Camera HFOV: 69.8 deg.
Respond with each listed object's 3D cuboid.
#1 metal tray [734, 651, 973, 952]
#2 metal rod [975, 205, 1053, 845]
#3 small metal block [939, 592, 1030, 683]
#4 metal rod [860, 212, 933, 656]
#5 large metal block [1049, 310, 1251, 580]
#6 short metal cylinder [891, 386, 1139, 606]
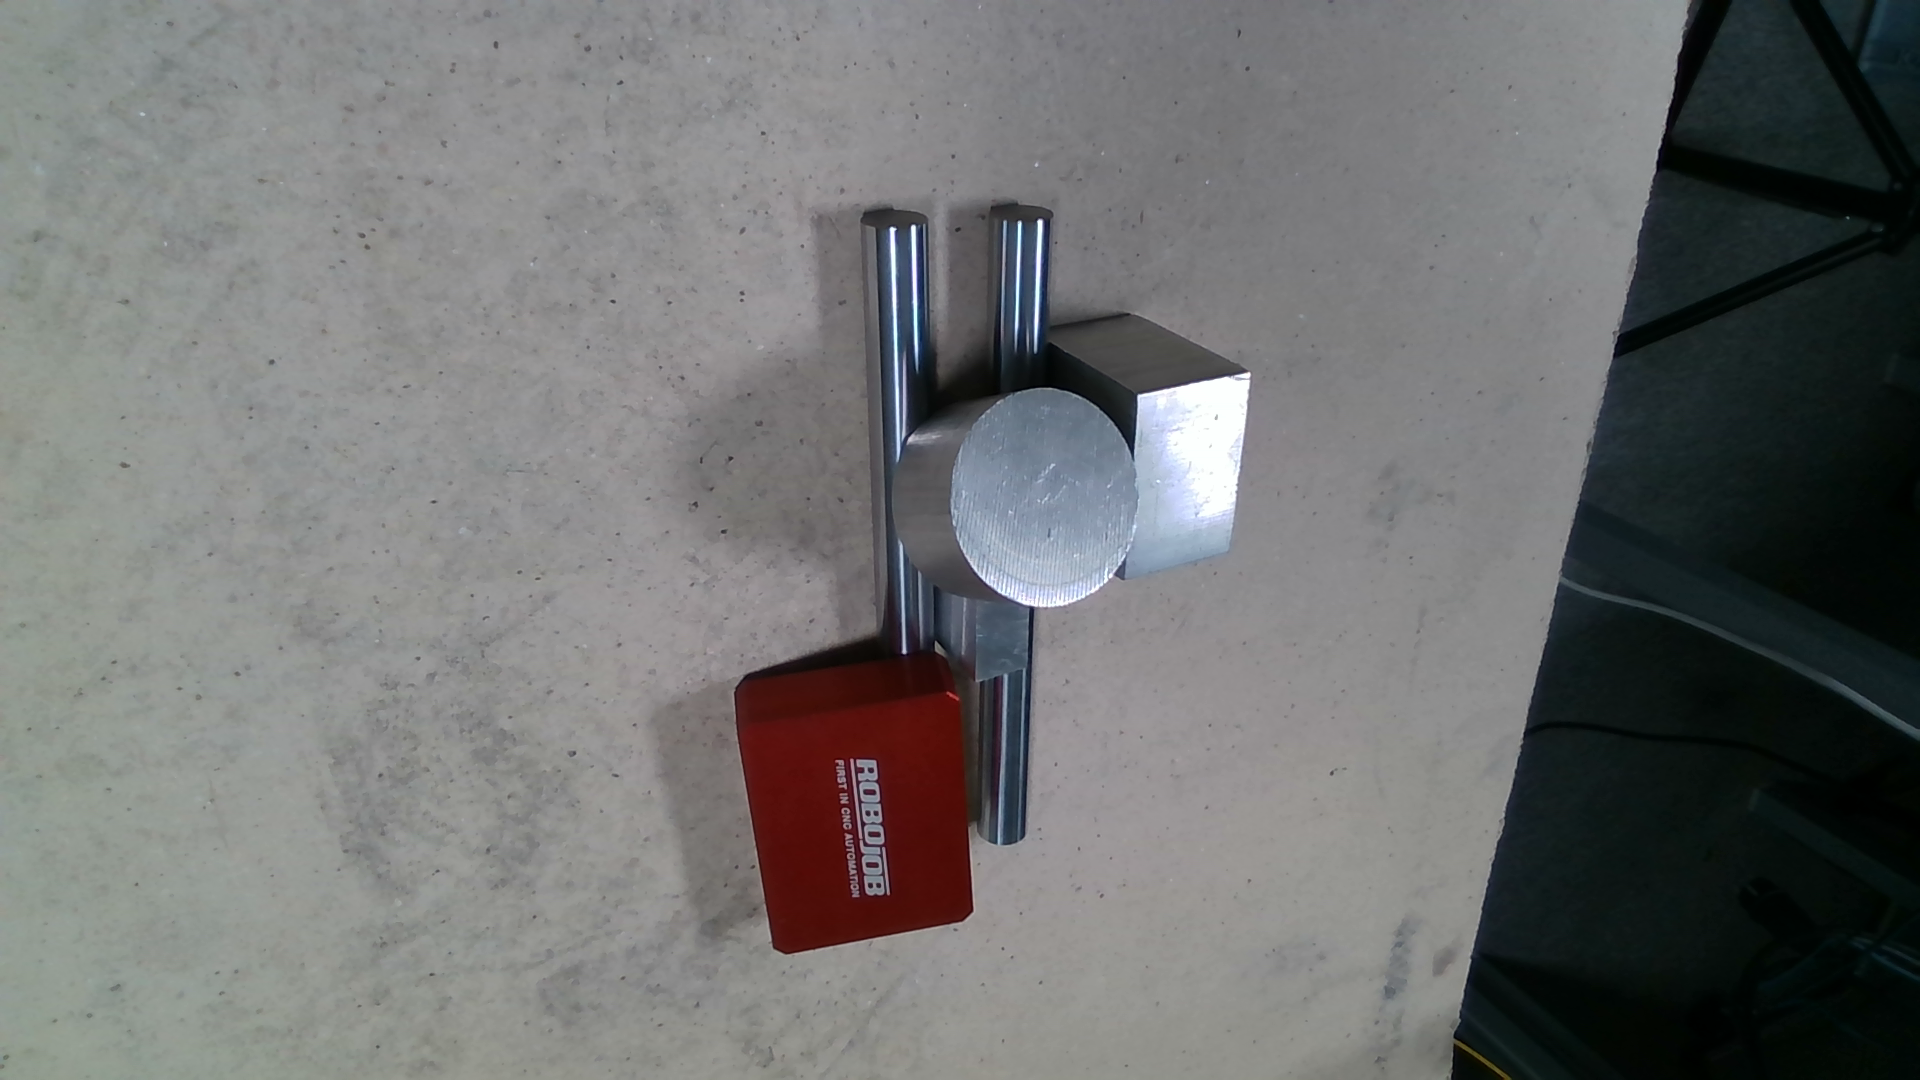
[{"bbox_3d":[-0.044,0.115,0.595,0.090,0.030,0.130,-8,122,-8],"label":"metal tray"},{"bbox_3d":[0.021,0.007,0.598,0.025,0.025,0.301,-14,121,-25],"label":"metal rod"},{"bbox_3d":[0.006,0.024,0.581,0.025,0.050,0.050,-14,121,-25],"label":"small metal block"},{"bbox_3d":[-0.024,0.015,0.575,0.025,0.025,0.301,-15,122,-25],"label":"metal rod"},{"bbox_3d":[0.070,-0.041,0.567,0.050,0.080,0.080,-14,121,-25],"label":"large metal block"},{"bbox_3d":[0.021,-0.016,0.523,0.080,0.050,0.080,0,91,-28],"label":"short metal cylinder"}]
